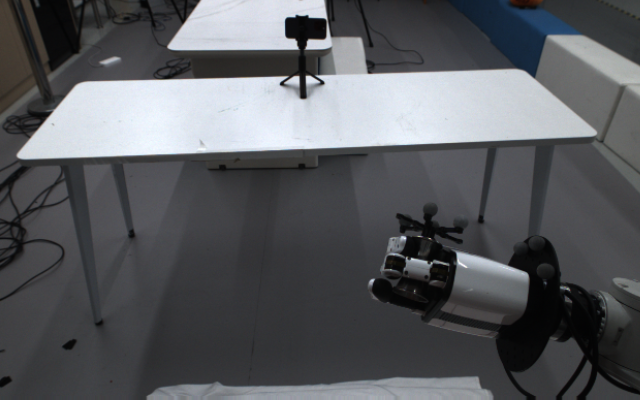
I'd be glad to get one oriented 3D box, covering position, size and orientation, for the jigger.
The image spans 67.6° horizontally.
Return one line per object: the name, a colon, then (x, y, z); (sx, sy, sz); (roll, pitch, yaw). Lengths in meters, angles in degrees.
jigger: (0.117, 0.079, 0.569); (0.043, 0.043, 0.071); (15, 70, 18)
